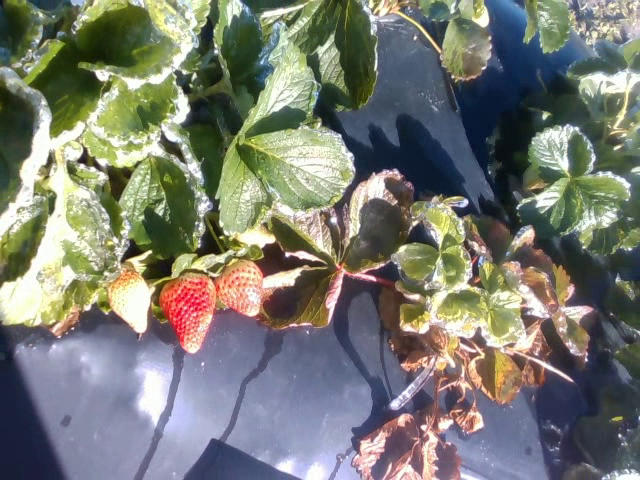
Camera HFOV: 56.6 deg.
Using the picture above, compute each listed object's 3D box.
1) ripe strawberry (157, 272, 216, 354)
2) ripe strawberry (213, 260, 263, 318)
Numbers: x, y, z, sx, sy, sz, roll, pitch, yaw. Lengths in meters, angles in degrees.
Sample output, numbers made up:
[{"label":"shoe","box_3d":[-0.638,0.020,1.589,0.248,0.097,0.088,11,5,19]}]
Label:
[{"label":"ripe strawberry","box_3d":[-0.080,0.049,0.362,0.036,0.052,0.040,-8,-22,-9]},{"label":"ripe strawberry","box_3d":[-0.049,0.033,0.381,0.036,0.041,0.030,-31,12,-1]}]
